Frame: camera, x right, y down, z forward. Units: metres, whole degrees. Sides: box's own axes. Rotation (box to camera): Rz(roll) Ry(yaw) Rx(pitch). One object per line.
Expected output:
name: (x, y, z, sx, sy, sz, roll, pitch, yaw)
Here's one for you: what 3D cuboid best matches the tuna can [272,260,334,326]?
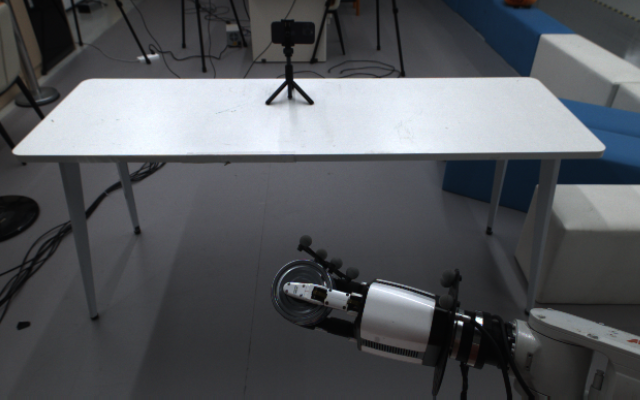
tuna can: (-0.018, 0.129, 0.644, 0.085, 0.034, 0.085, -4, 69, 10)
